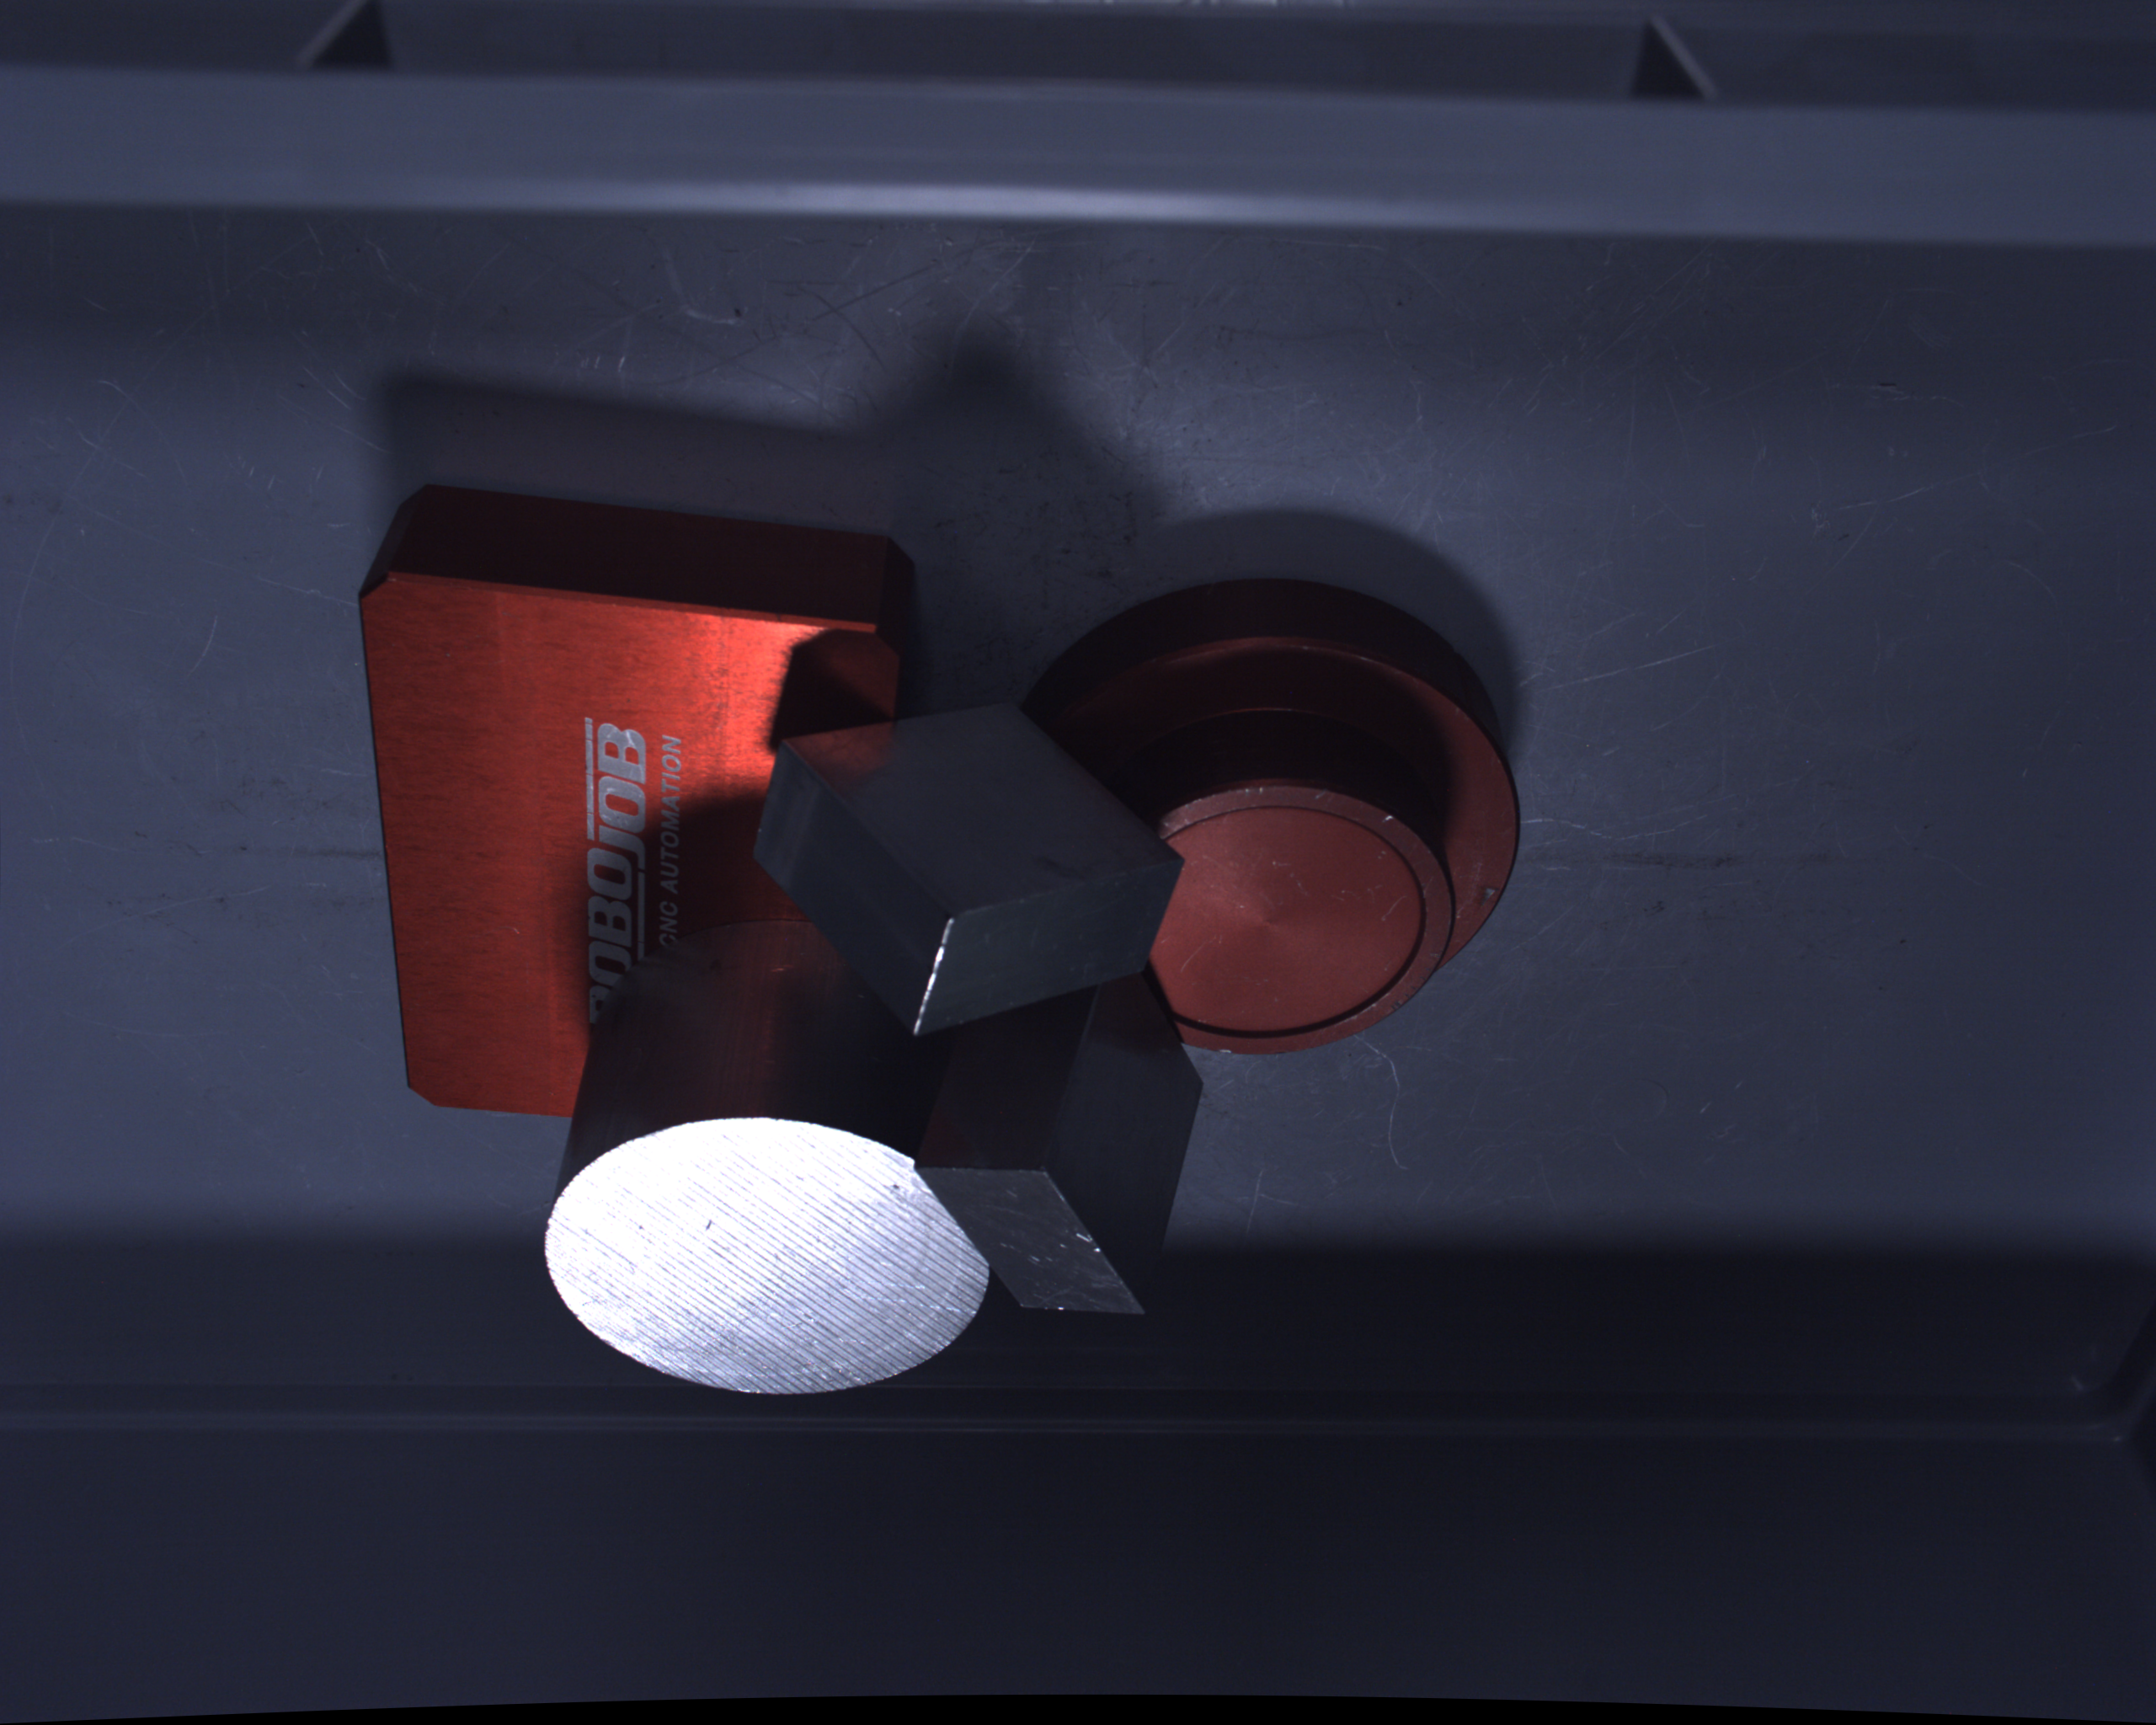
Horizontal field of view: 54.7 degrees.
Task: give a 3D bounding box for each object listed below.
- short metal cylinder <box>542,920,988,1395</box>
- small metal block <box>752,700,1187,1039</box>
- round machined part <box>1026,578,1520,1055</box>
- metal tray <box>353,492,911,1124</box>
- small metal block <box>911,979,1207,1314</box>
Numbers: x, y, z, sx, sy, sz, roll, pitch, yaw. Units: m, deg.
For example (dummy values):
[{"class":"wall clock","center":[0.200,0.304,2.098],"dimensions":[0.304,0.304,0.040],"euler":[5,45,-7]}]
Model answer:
[{"class":"short metal cylinder","center":[-0.057,0.057,0.399],"dimensions":[0.081,0.050,0.079],"euler":[0,130,0]},{"class":"small metal block","center":[-0.019,-0.001,0.356],"dimensions":[0.050,0.050,0.025],"euler":[-13,135,-39]},{"class":"round machined part","center":[0.034,-0.002,0.395],"dimensions":[0.099,0.042,0.097],"euler":[-1,130,0]},{"class":"metal tray","center":[-0.083,-0.003,0.397],"dimensions":[0.091,0.030,0.129],"euler":[6,130,-6]},{"class":"small metal block","center":[-0.002,0.047,0.379],"dimensions":[0.025,0.050,0.050],"euler":[-2,140,26]}]
